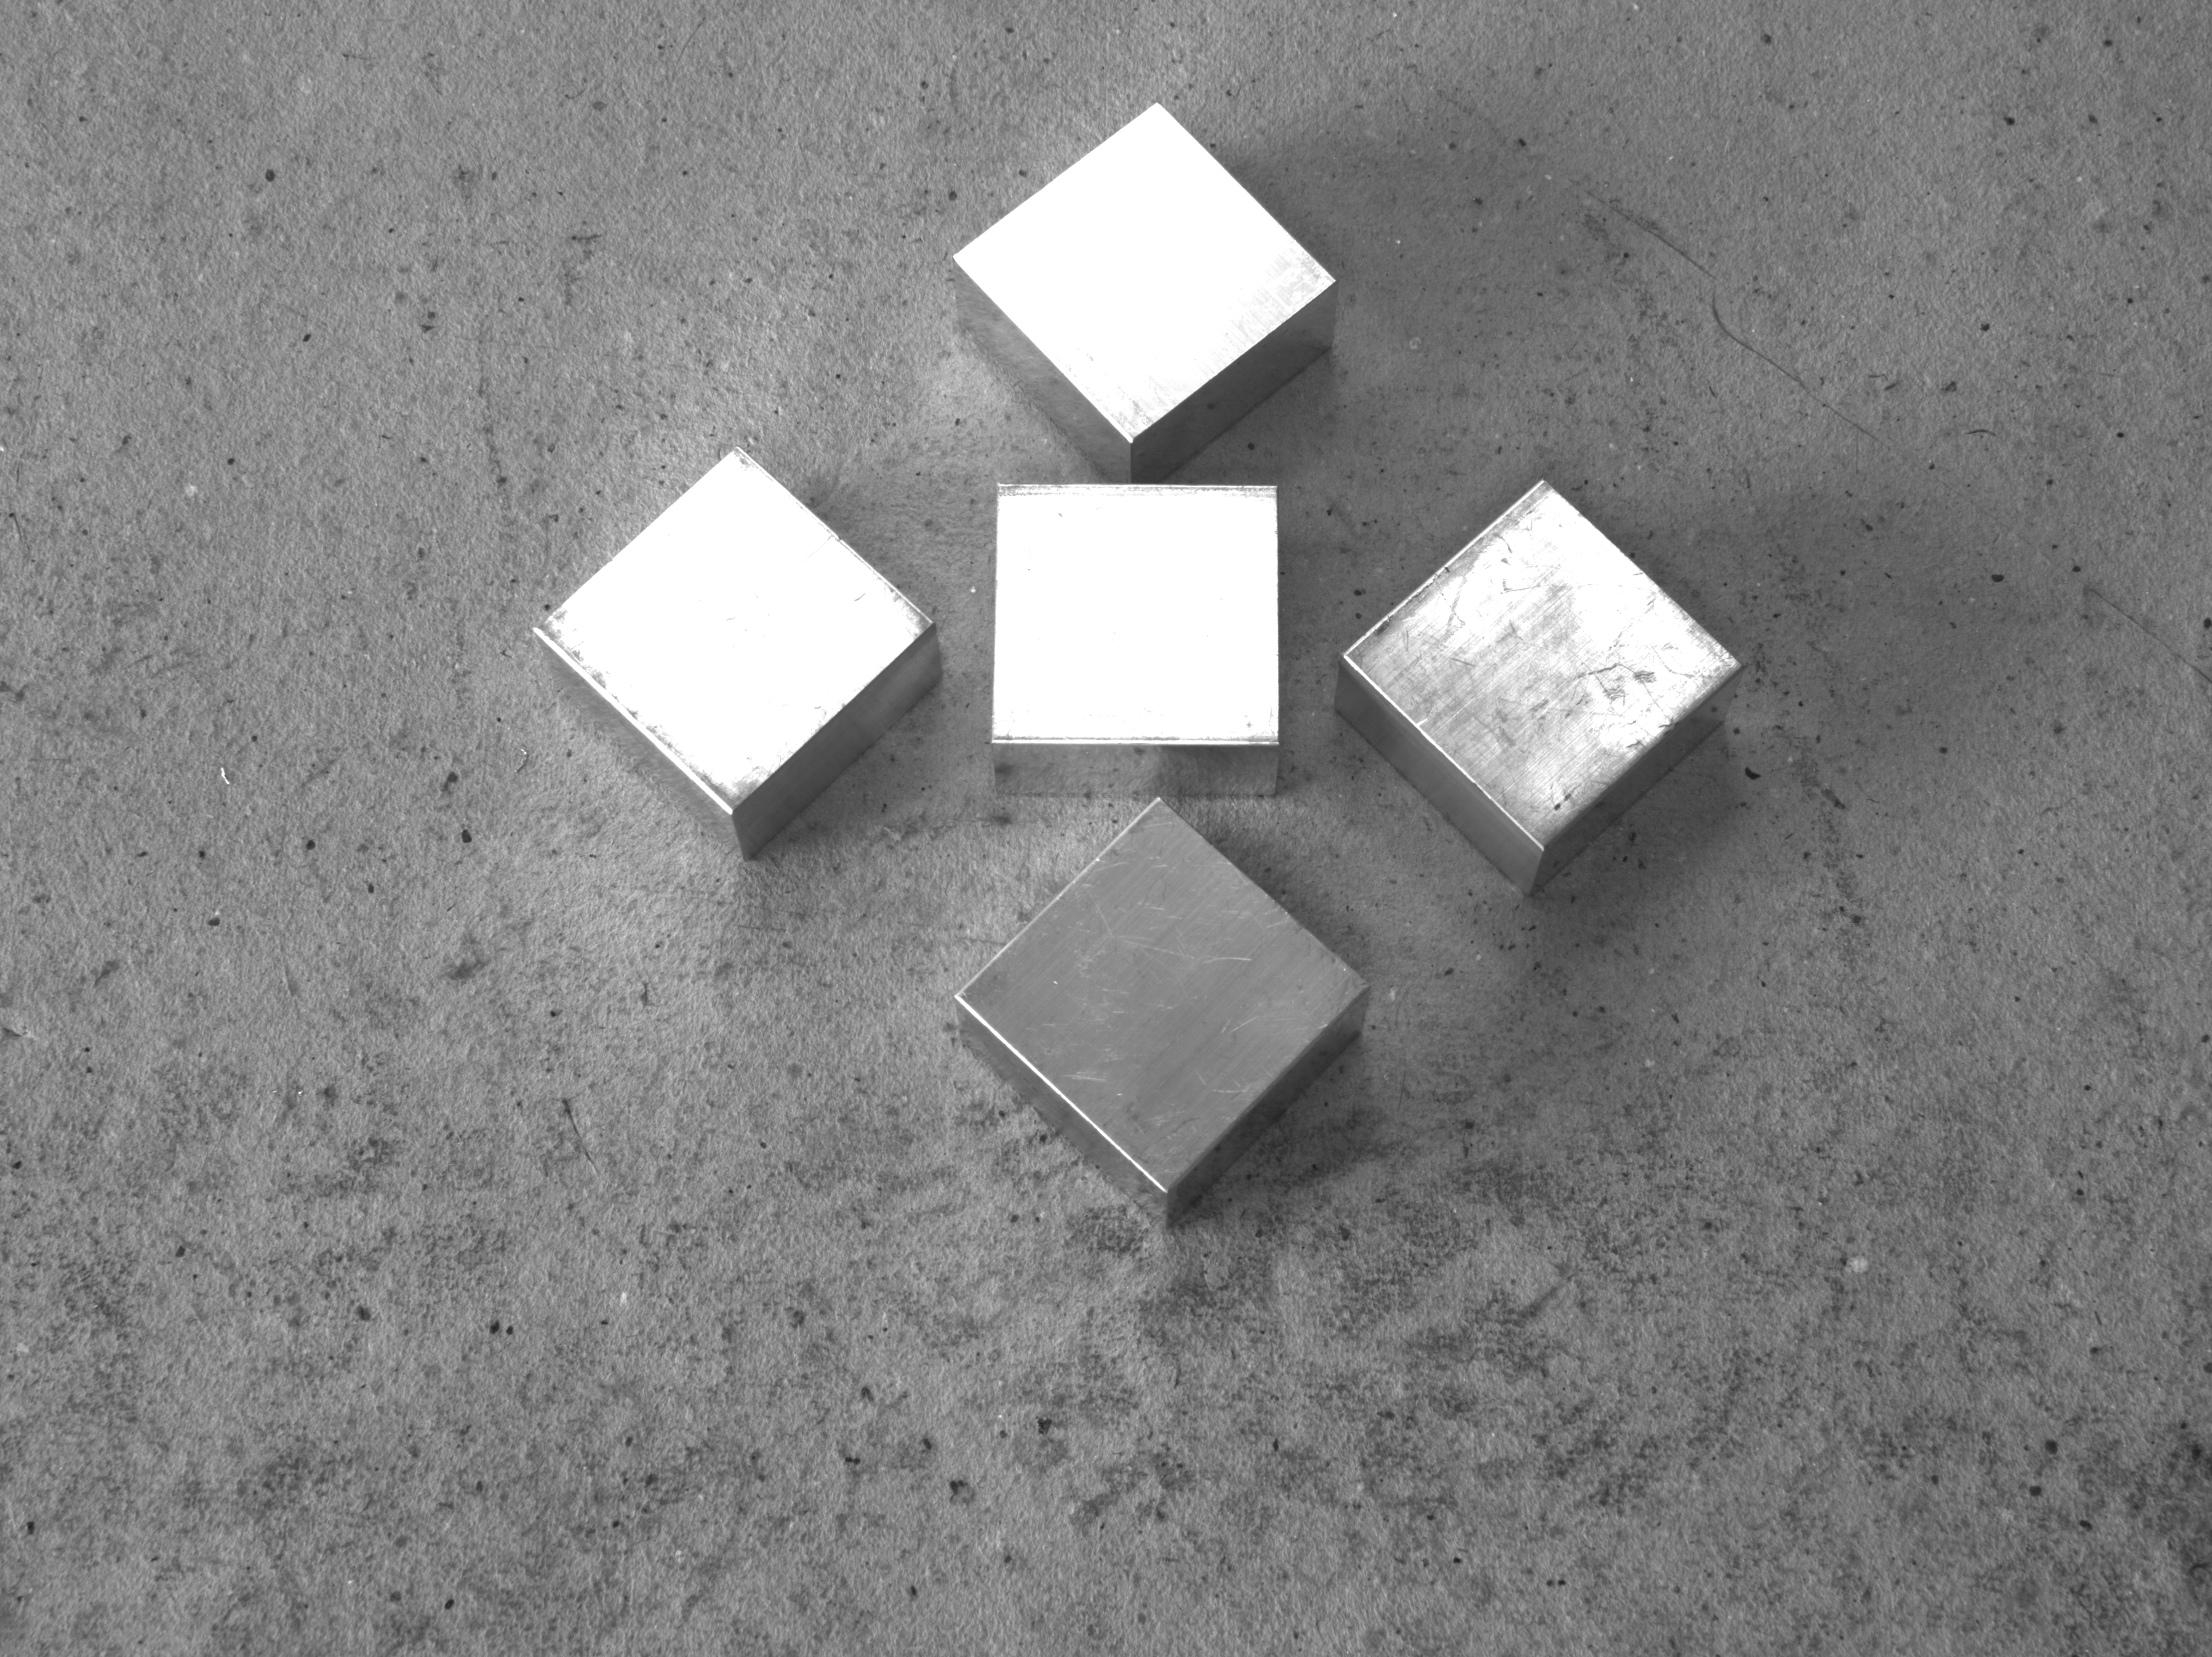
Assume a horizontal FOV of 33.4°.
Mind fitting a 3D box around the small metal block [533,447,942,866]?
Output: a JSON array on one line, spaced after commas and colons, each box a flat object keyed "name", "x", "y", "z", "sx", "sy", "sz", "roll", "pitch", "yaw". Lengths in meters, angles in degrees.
[{"name": "small metal block", "x": -0.065, "y": -0.031, "z": 0.657, "sx": 0.050, "sy": 0.025, "sz": 0.050, "roll": 42, "pitch": 74, "yaw": 14}]

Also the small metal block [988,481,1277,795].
[{"name": "small metal block", "x": 0.005, "y": -0.034, "z": 0.658, "sx": 0.050, "sy": 0.025, "sz": 0.050, "roll": 0, "pitch": 70, "yaw": 1}]

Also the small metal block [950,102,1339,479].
[{"name": "small metal block", "x": 0.007, "y": -0.097, "z": 0.681, "sx": 0.050, "sy": 0.025, "sz": 0.050, "roll": -39, "pitch": 74, "yaw": -13}]

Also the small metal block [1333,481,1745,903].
[{"name": "small metal block", "x": 0.076, "y": -0.024, "z": 0.655, "sx": 0.050, "sy": 0.025, "sz": 0.050, "roll": -41, "pitch": 75, "yaw": -13}]

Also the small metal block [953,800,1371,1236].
[{"name": "small metal block", "x": 0.009, "y": 0.033, "z": 0.634, "sx": 0.050, "sy": 0.025, "sz": 0.050, "roll": 42, "pitch": 75, "yaw": 14}]
